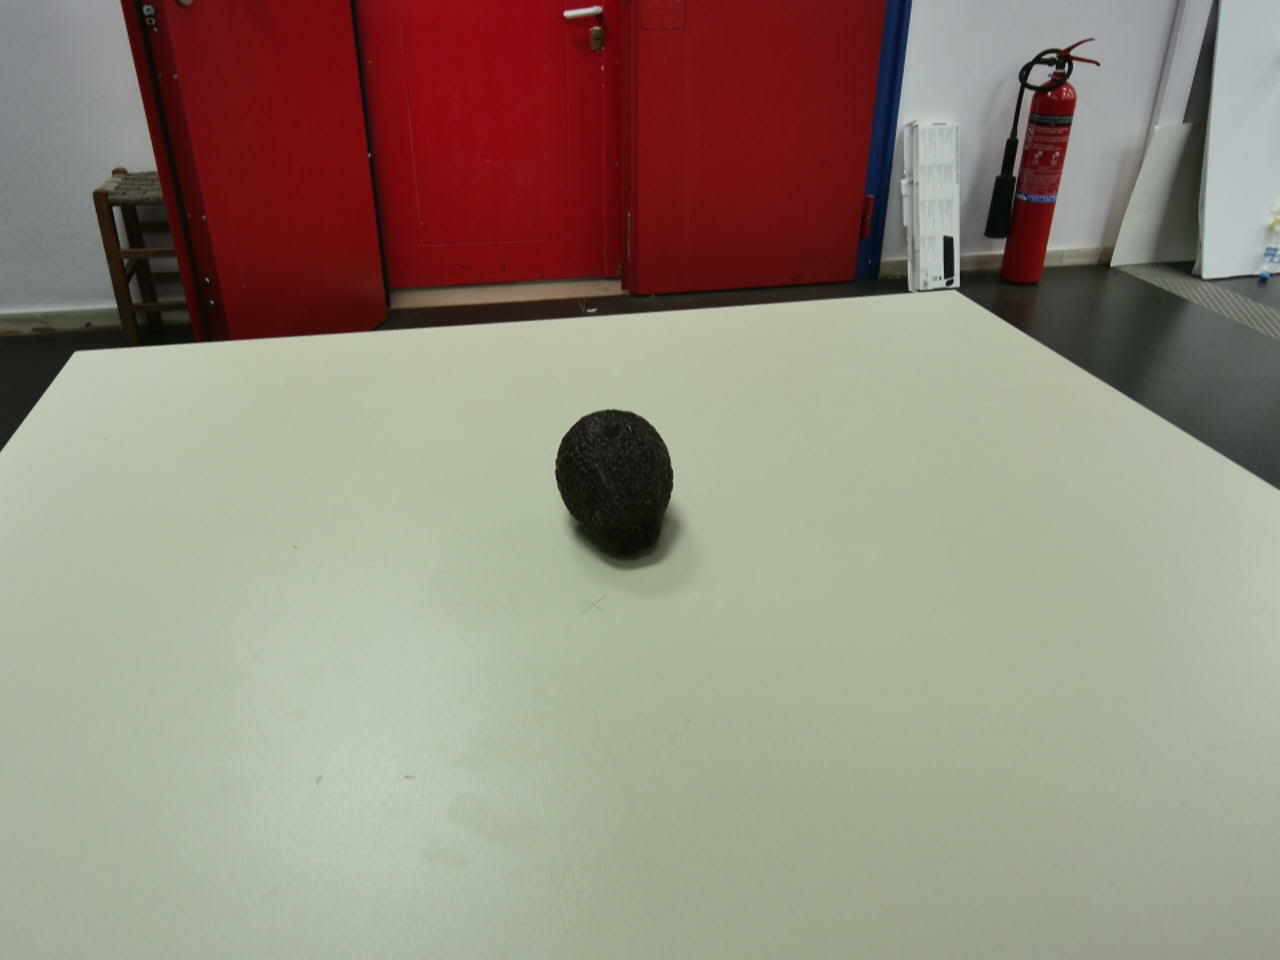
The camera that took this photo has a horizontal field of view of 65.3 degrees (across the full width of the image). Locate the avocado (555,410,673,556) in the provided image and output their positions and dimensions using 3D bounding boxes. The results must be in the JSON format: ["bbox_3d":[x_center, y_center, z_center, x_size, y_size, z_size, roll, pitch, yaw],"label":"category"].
[{"bbox_3d":[-0.016,-0.002,0.579,0.070,0.069,0.090,7,27,11],"label":"avocado"}]
